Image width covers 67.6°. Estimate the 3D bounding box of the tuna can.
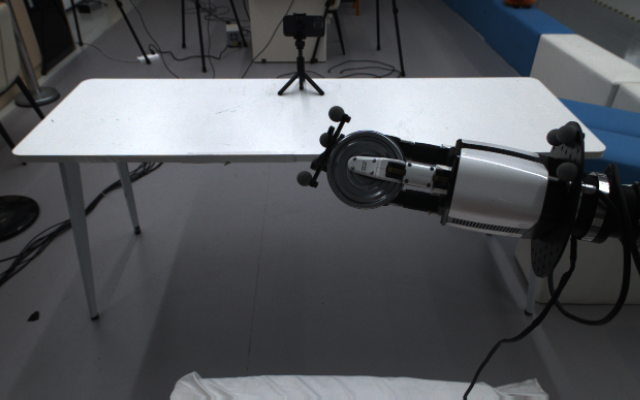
[{"bbox_3d":[0.054,-0.035,0.533,0.085,0.085,0.034,8,5,8],"label":"tuna can"}]
